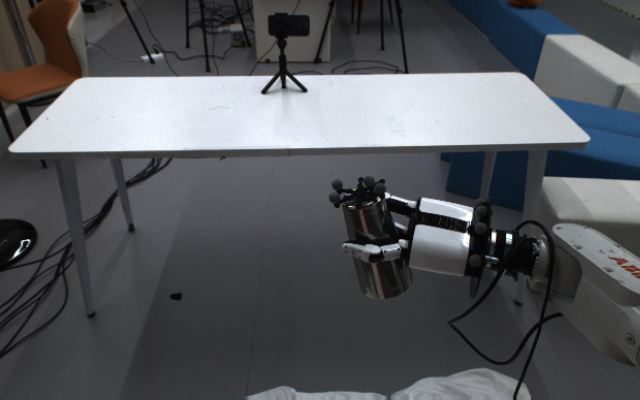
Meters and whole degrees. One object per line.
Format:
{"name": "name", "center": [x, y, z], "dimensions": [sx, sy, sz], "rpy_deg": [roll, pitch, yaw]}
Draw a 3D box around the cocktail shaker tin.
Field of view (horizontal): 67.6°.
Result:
{"name": "cocktail shaker tin", "center": [0.088, 0.064, 0.779], "dimensions": [0.093, 0.170, 0.093], "rpy_deg": [-15, 29, 8]}
